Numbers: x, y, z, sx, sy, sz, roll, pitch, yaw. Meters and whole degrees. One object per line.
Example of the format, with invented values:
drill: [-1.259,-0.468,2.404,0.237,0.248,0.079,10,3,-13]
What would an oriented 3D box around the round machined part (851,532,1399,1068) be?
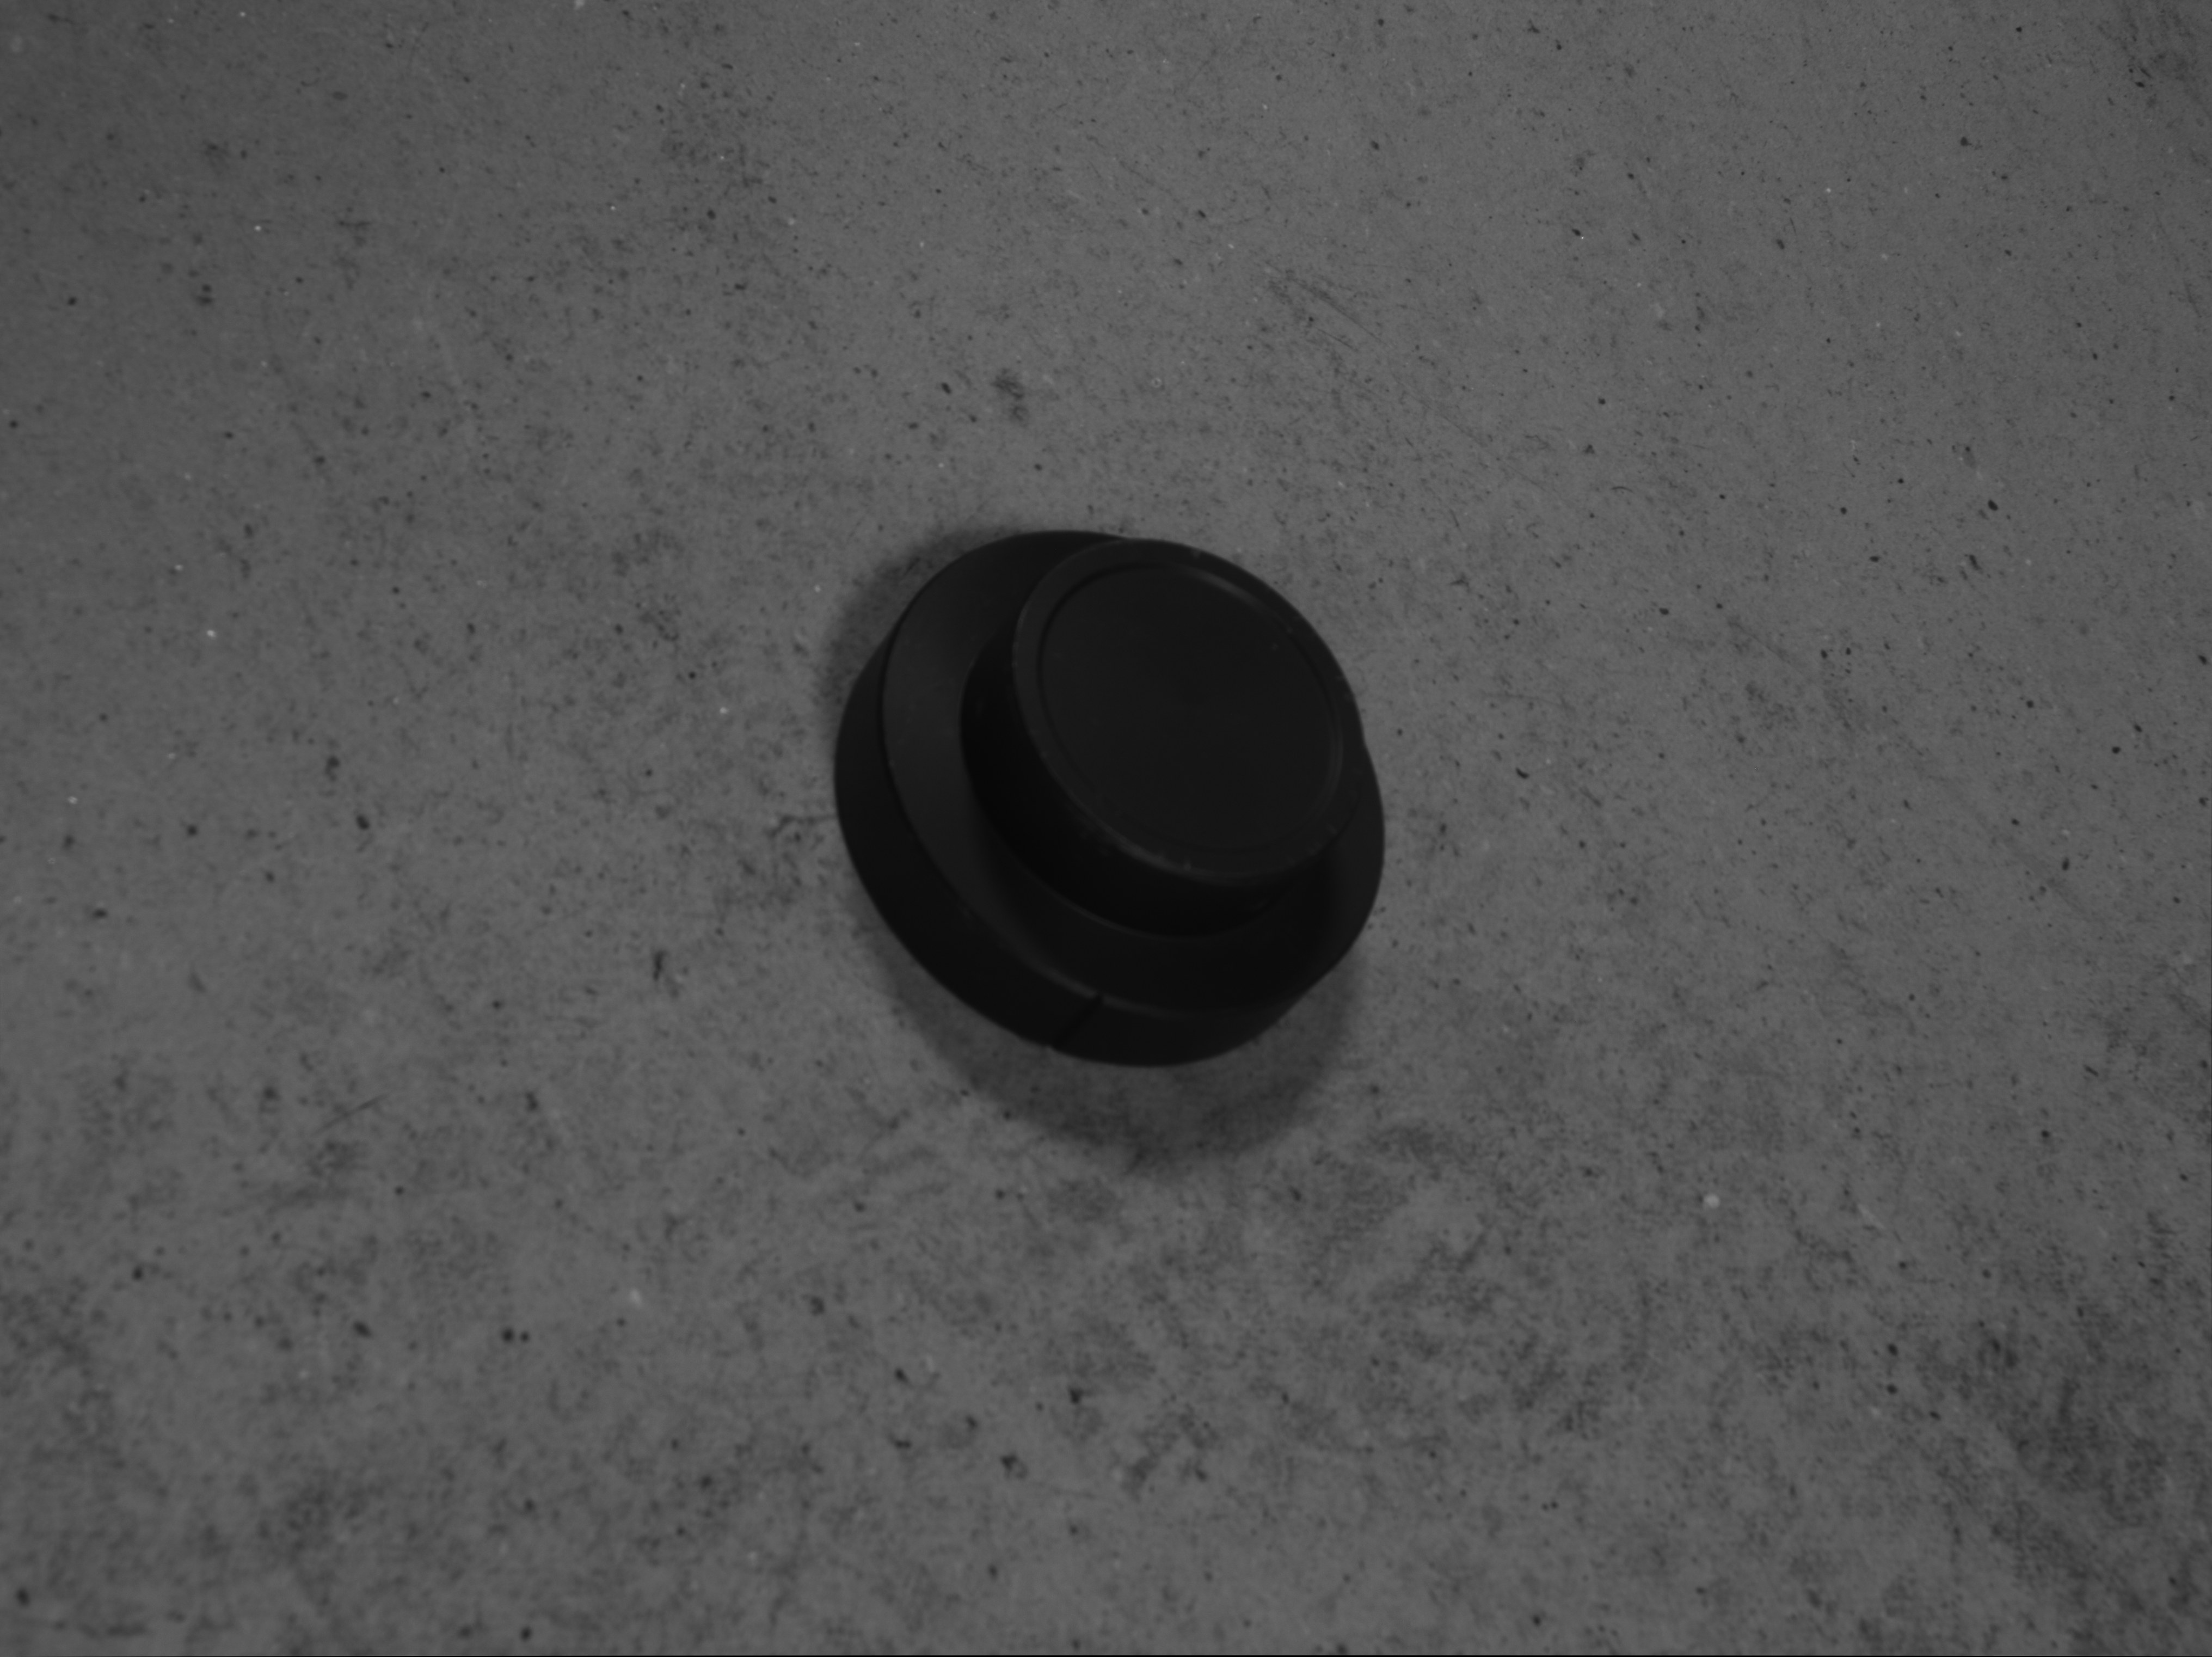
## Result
round machined part: [0.008,-0.011,0.640,0.098,0.042,0.098,14,56,-21]
